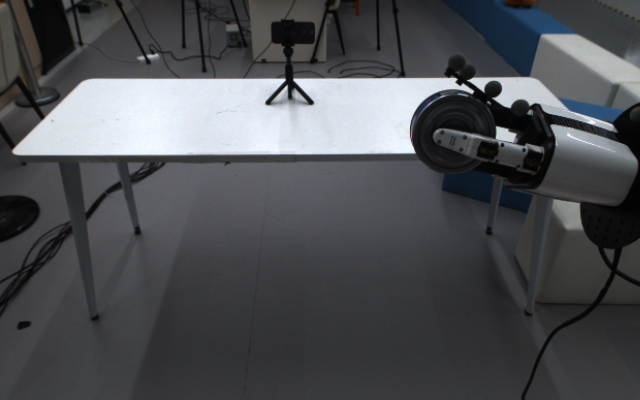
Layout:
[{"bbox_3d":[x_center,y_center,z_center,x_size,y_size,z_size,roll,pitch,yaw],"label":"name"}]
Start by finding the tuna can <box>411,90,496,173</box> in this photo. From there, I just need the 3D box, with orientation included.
[{"bbox_3d":[0.141,-0.074,0.512,0.085,0.085,0.034,6,19,6],"label":"tuna can"}]
